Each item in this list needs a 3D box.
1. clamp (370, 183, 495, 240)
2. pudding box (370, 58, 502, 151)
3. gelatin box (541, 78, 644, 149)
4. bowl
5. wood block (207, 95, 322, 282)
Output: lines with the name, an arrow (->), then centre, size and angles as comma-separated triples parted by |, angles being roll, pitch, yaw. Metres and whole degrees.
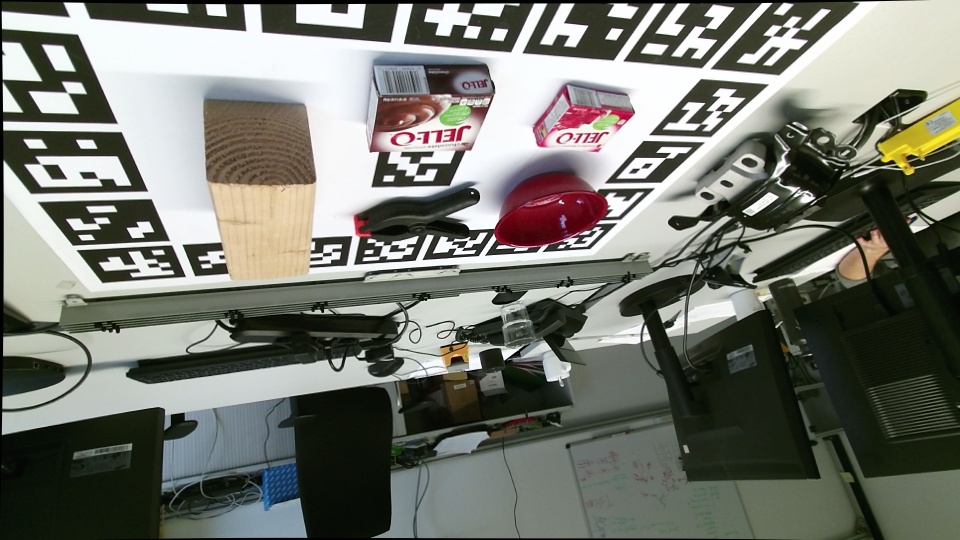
clamp -> -0.066, -0.071, 0.734 | 0.166, 0.036, 0.122 | -8, 156, -10
pudding box -> -0.046, -0.160, 0.522 | 0.114, 0.038, 0.090 | -7, 152, -21
gelatin box -> 0.125, -0.171, 0.600 | 0.090, 0.030, 0.073 | -1, 152, -28
bowl -> 0.100, -0.093, 0.752 | 0.162, 0.055, 0.162 | -12, 154, -6
wood block -> -0.221, -0.071, 0.554 | 0.090, 0.090, 0.206 | -3, 154, -23
